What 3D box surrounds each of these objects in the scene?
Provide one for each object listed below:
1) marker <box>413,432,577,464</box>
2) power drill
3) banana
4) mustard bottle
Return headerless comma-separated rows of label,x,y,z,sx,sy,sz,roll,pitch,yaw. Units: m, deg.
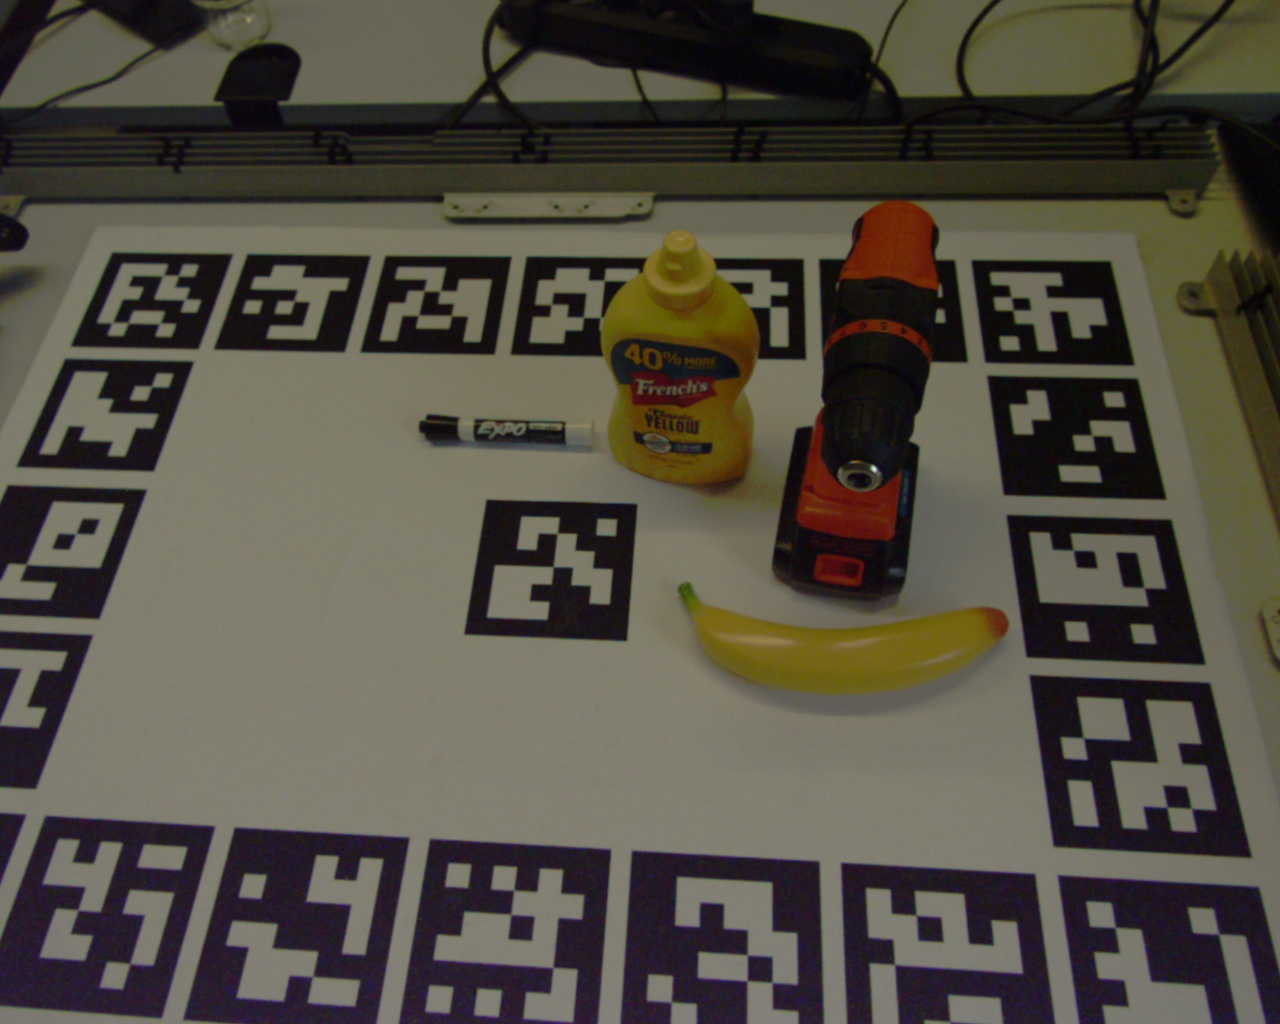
marker,-0.107,-0.047,0.838,0.121,0.019,0.020,3,59,6
power drill,0.116,-0.033,0.692,0.057,0.186,0.184,14,57,9
banana,0.105,0.091,0.727,0.198,0.038,0.074,7,60,11
mustard bottle,0.015,-0.082,0.749,0.096,0.190,0.058,11,59,9
